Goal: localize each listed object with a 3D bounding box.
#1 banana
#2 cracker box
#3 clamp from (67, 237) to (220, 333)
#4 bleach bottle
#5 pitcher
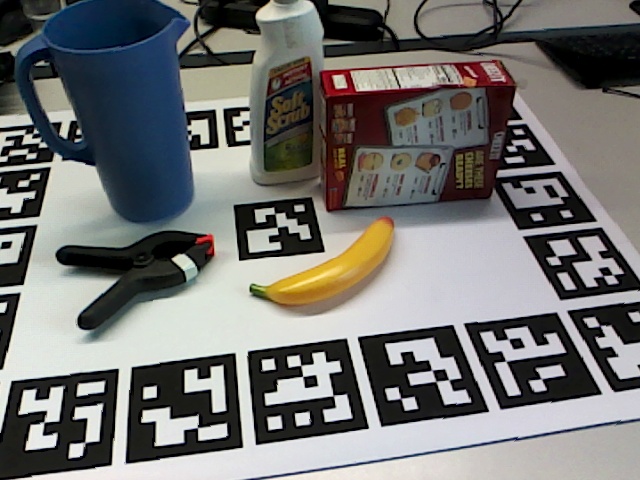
[{"bbox_3d":[0.030,0.030,0.711,0.196,0.039,0.075,-33,51,-31],"label":"banana"},{"bbox_3d":[0.116,-0.127,0.757,0.213,0.163,0.072,-7,39,-4],"label":"cracker box"},{"bbox_3d":[-0.191,0.036,0.699,0.164,0.036,0.122,-18,43,-20],"label":"clamp"},{"bbox_3d":[-0.049,-0.178,0.777,0.102,0.250,0.068,-7,41,-7],"label":"bleach bottle"},{"bbox_3d":[-0.227,-0.142,0.713,0.188,0.242,0.134,-19,44,-23],"label":"pitcher"}]
